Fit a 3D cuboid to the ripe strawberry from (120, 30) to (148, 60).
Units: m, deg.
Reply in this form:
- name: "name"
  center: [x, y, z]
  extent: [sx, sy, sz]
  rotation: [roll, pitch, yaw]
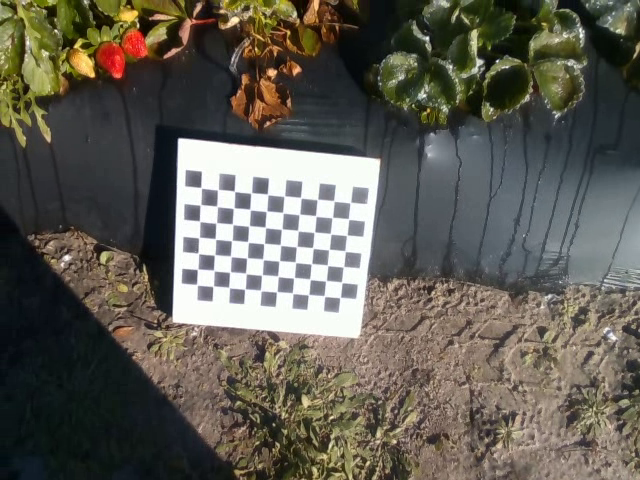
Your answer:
- name: "ripe strawberry"
  center: [-0.232, -0.246, 0.738]
  extent: [0.041, 0.036, 0.030]
  rotation: [33, 10, -3]

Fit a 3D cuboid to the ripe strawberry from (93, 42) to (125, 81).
- name: "ripe strawberry"
  center: [-0.258, -0.217, 0.726]
  extent: [0.036, 0.052, 0.040]
  rotation: [-32, -25, 5]
